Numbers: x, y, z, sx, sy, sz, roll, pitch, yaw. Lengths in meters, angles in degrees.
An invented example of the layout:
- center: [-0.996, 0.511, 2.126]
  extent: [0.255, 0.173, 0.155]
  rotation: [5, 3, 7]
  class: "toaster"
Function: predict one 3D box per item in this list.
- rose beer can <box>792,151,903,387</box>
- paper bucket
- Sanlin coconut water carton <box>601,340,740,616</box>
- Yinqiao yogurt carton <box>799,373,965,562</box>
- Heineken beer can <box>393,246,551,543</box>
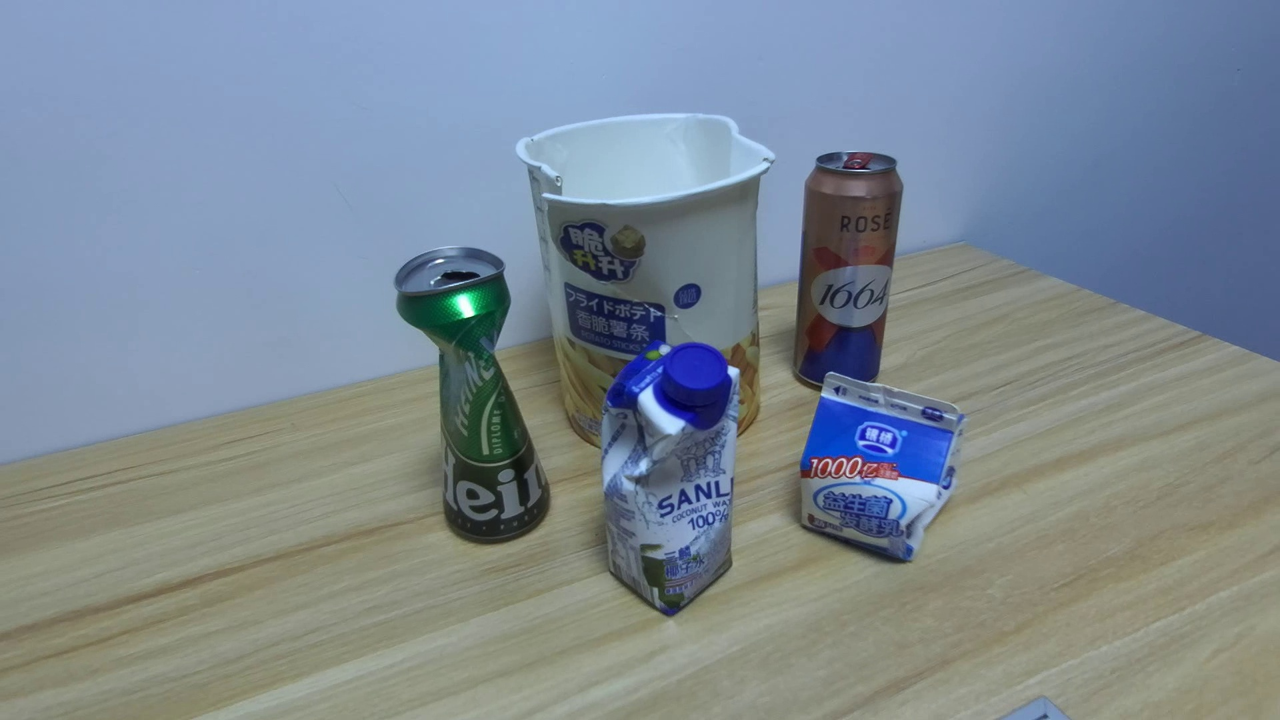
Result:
- center: [0.151, -0.061, 0.522]
  extent: [0.068, 0.169, 0.068]
  rotation: [-2, 28, 2]
  class: "rose beer can"
- center: [0.011, -0.051, 0.484]
  extent: [0.146, 0.197, 0.202]
  rotation: [-11, 29, -10]
  class: "paper bucket"
- center: [0.012, 0.054, 0.353]
  extent: [0.061, 0.144, 0.069]
  rotation: [-26, 37, -35]
  class: "Sanlin coconut water carton"
- center: [0.134, 0.052, 0.390]
  extent: [0.074, 0.097, 0.080]
  rotation: [14, 40, 28]
  class: "Yinqiao yogurt carton"
- center: [-0.092, 0.022, 0.403]
  extent: [0.066, 0.164, 0.077]
  rotation: [2, 31, 11]
  class: "Heineken beer can"
